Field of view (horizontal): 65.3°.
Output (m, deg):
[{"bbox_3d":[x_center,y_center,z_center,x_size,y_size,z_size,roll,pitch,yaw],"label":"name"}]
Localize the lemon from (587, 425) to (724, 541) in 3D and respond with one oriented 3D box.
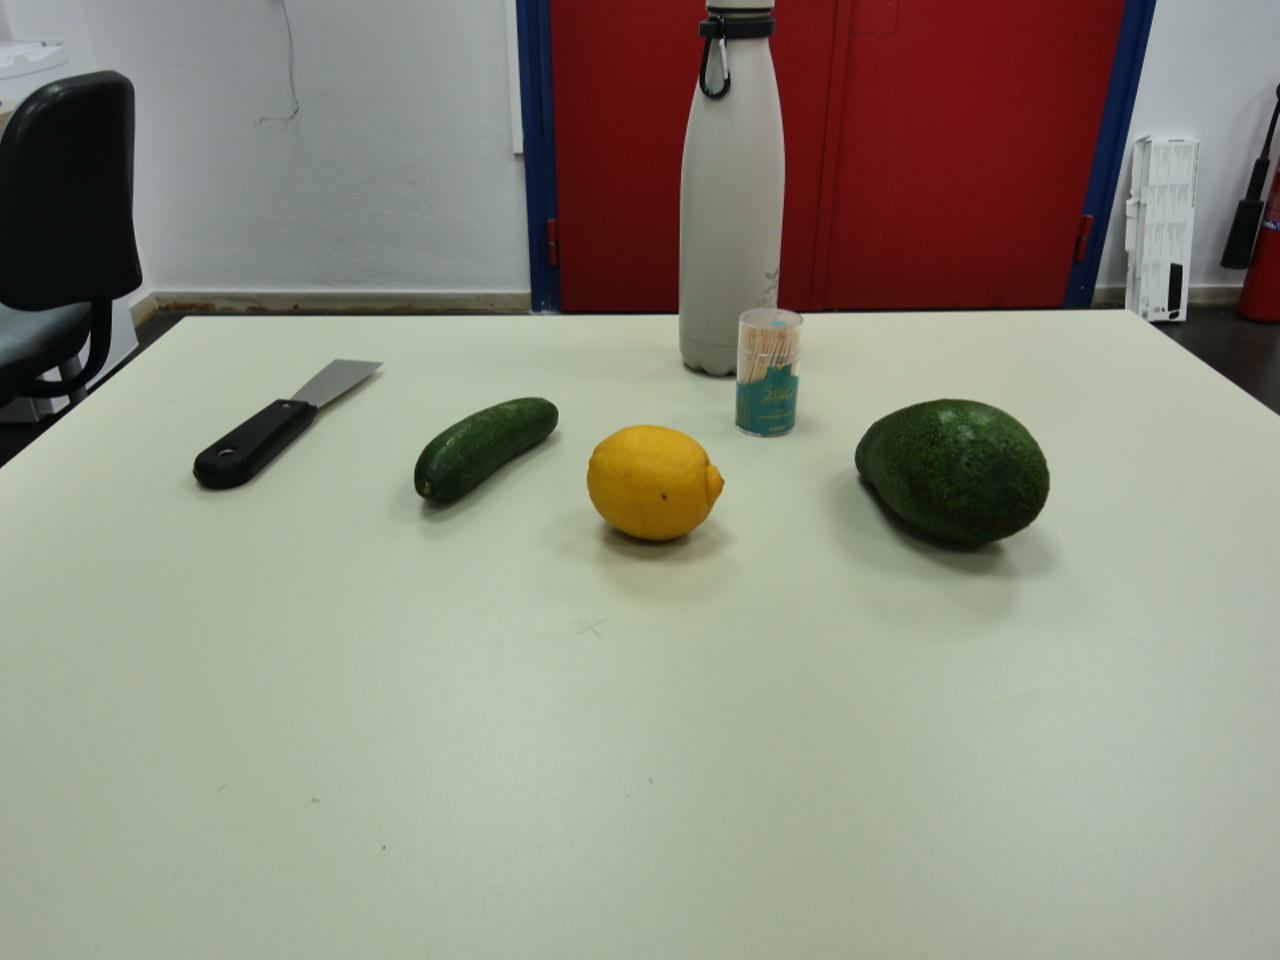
[{"bbox_3d":[0.006,0.002,0.525,0.067,0.059,0.060,19,33,37],"label":"lemon"}]
